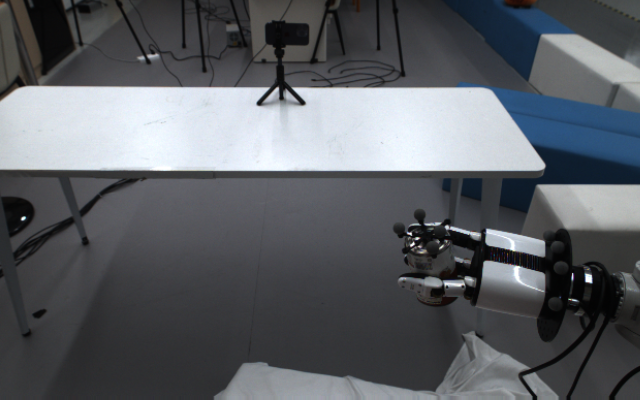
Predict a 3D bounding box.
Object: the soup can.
[{"bbox_3d":[0.167,0.096,0.707,0.067,0.101,0.067,-13,31,8],"label":"soup can"}]
